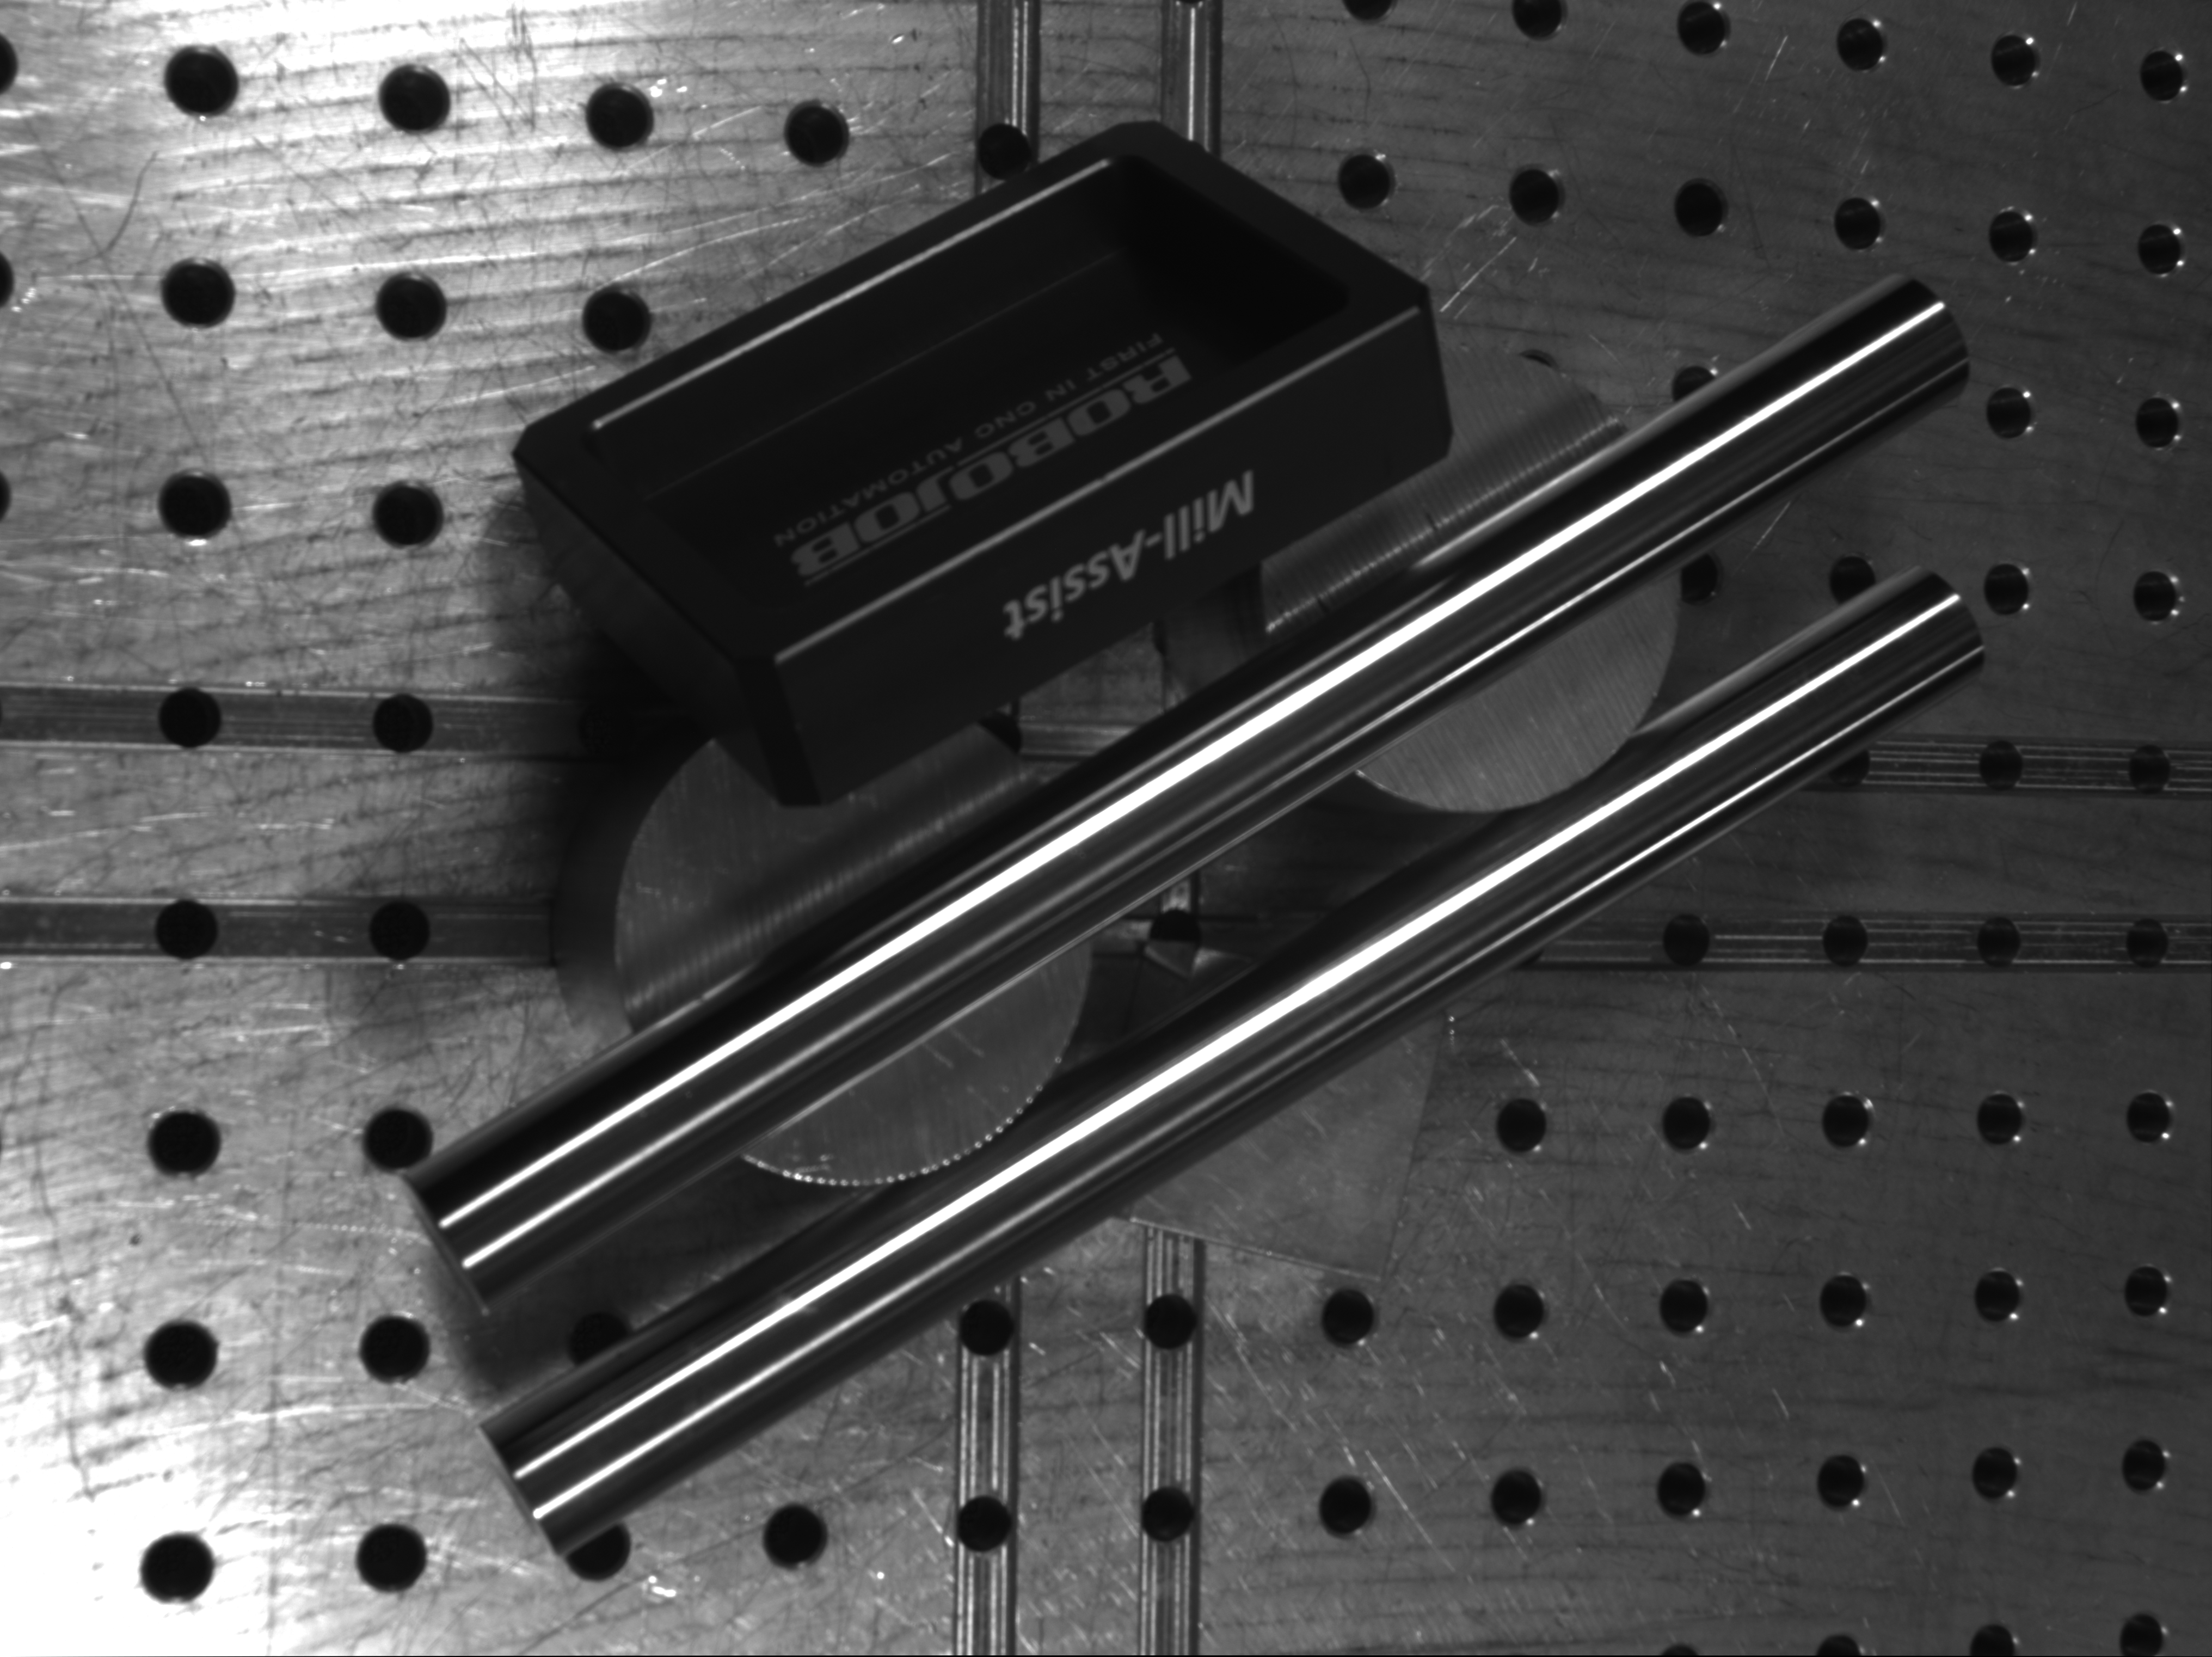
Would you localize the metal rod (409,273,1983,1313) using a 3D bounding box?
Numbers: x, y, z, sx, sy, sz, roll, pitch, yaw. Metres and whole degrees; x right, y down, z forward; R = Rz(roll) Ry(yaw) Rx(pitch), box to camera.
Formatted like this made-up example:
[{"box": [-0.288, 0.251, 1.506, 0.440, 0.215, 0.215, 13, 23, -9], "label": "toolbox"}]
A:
[{"box": [0.023, -0.012, 0.600, 0.300, 0.025, 0.025, -31, 100, -17], "label": "metal rod"}]

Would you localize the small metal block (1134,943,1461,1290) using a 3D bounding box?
[{"box": [0.030, 0.051, 0.656, 0.050, 0.025, 0.050, 16, 85, -19], "label": "small metal block"}]

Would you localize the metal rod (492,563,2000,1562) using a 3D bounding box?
[{"box": [0.032, 0.034, 0.630, 0.300, 0.025, 0.025, -30, 100, -17], "label": "metal rod"}]

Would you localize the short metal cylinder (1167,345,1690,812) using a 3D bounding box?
[{"box": [0.057, -0.043, 0.654, 0.080, 0.050, 0.080, 0, 90, -20], "label": "short metal cylinder"}]

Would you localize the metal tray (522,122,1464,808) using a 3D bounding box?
[{"box": [-0.019, -0.063, 0.603, 0.130, 0.090, 0.030, -30, 132, -17], "label": "metal tray"}]

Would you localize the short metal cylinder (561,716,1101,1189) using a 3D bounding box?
[{"box": [-0.047, 0.018, 0.616, 0.080, 0.050, 0.080, 0, 90, -20], "label": "short metal cylinder"}]
